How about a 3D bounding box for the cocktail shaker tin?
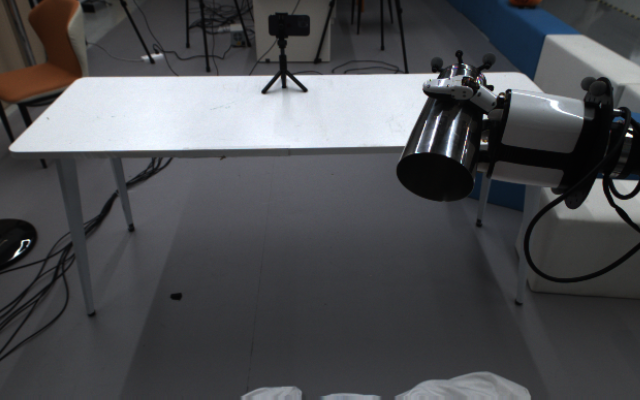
[{"bbox_3d":[0.163,-0.095,0.612,0.093,0.093,0.170,14,57,16],"label":"cocktail shaker tin"}]
